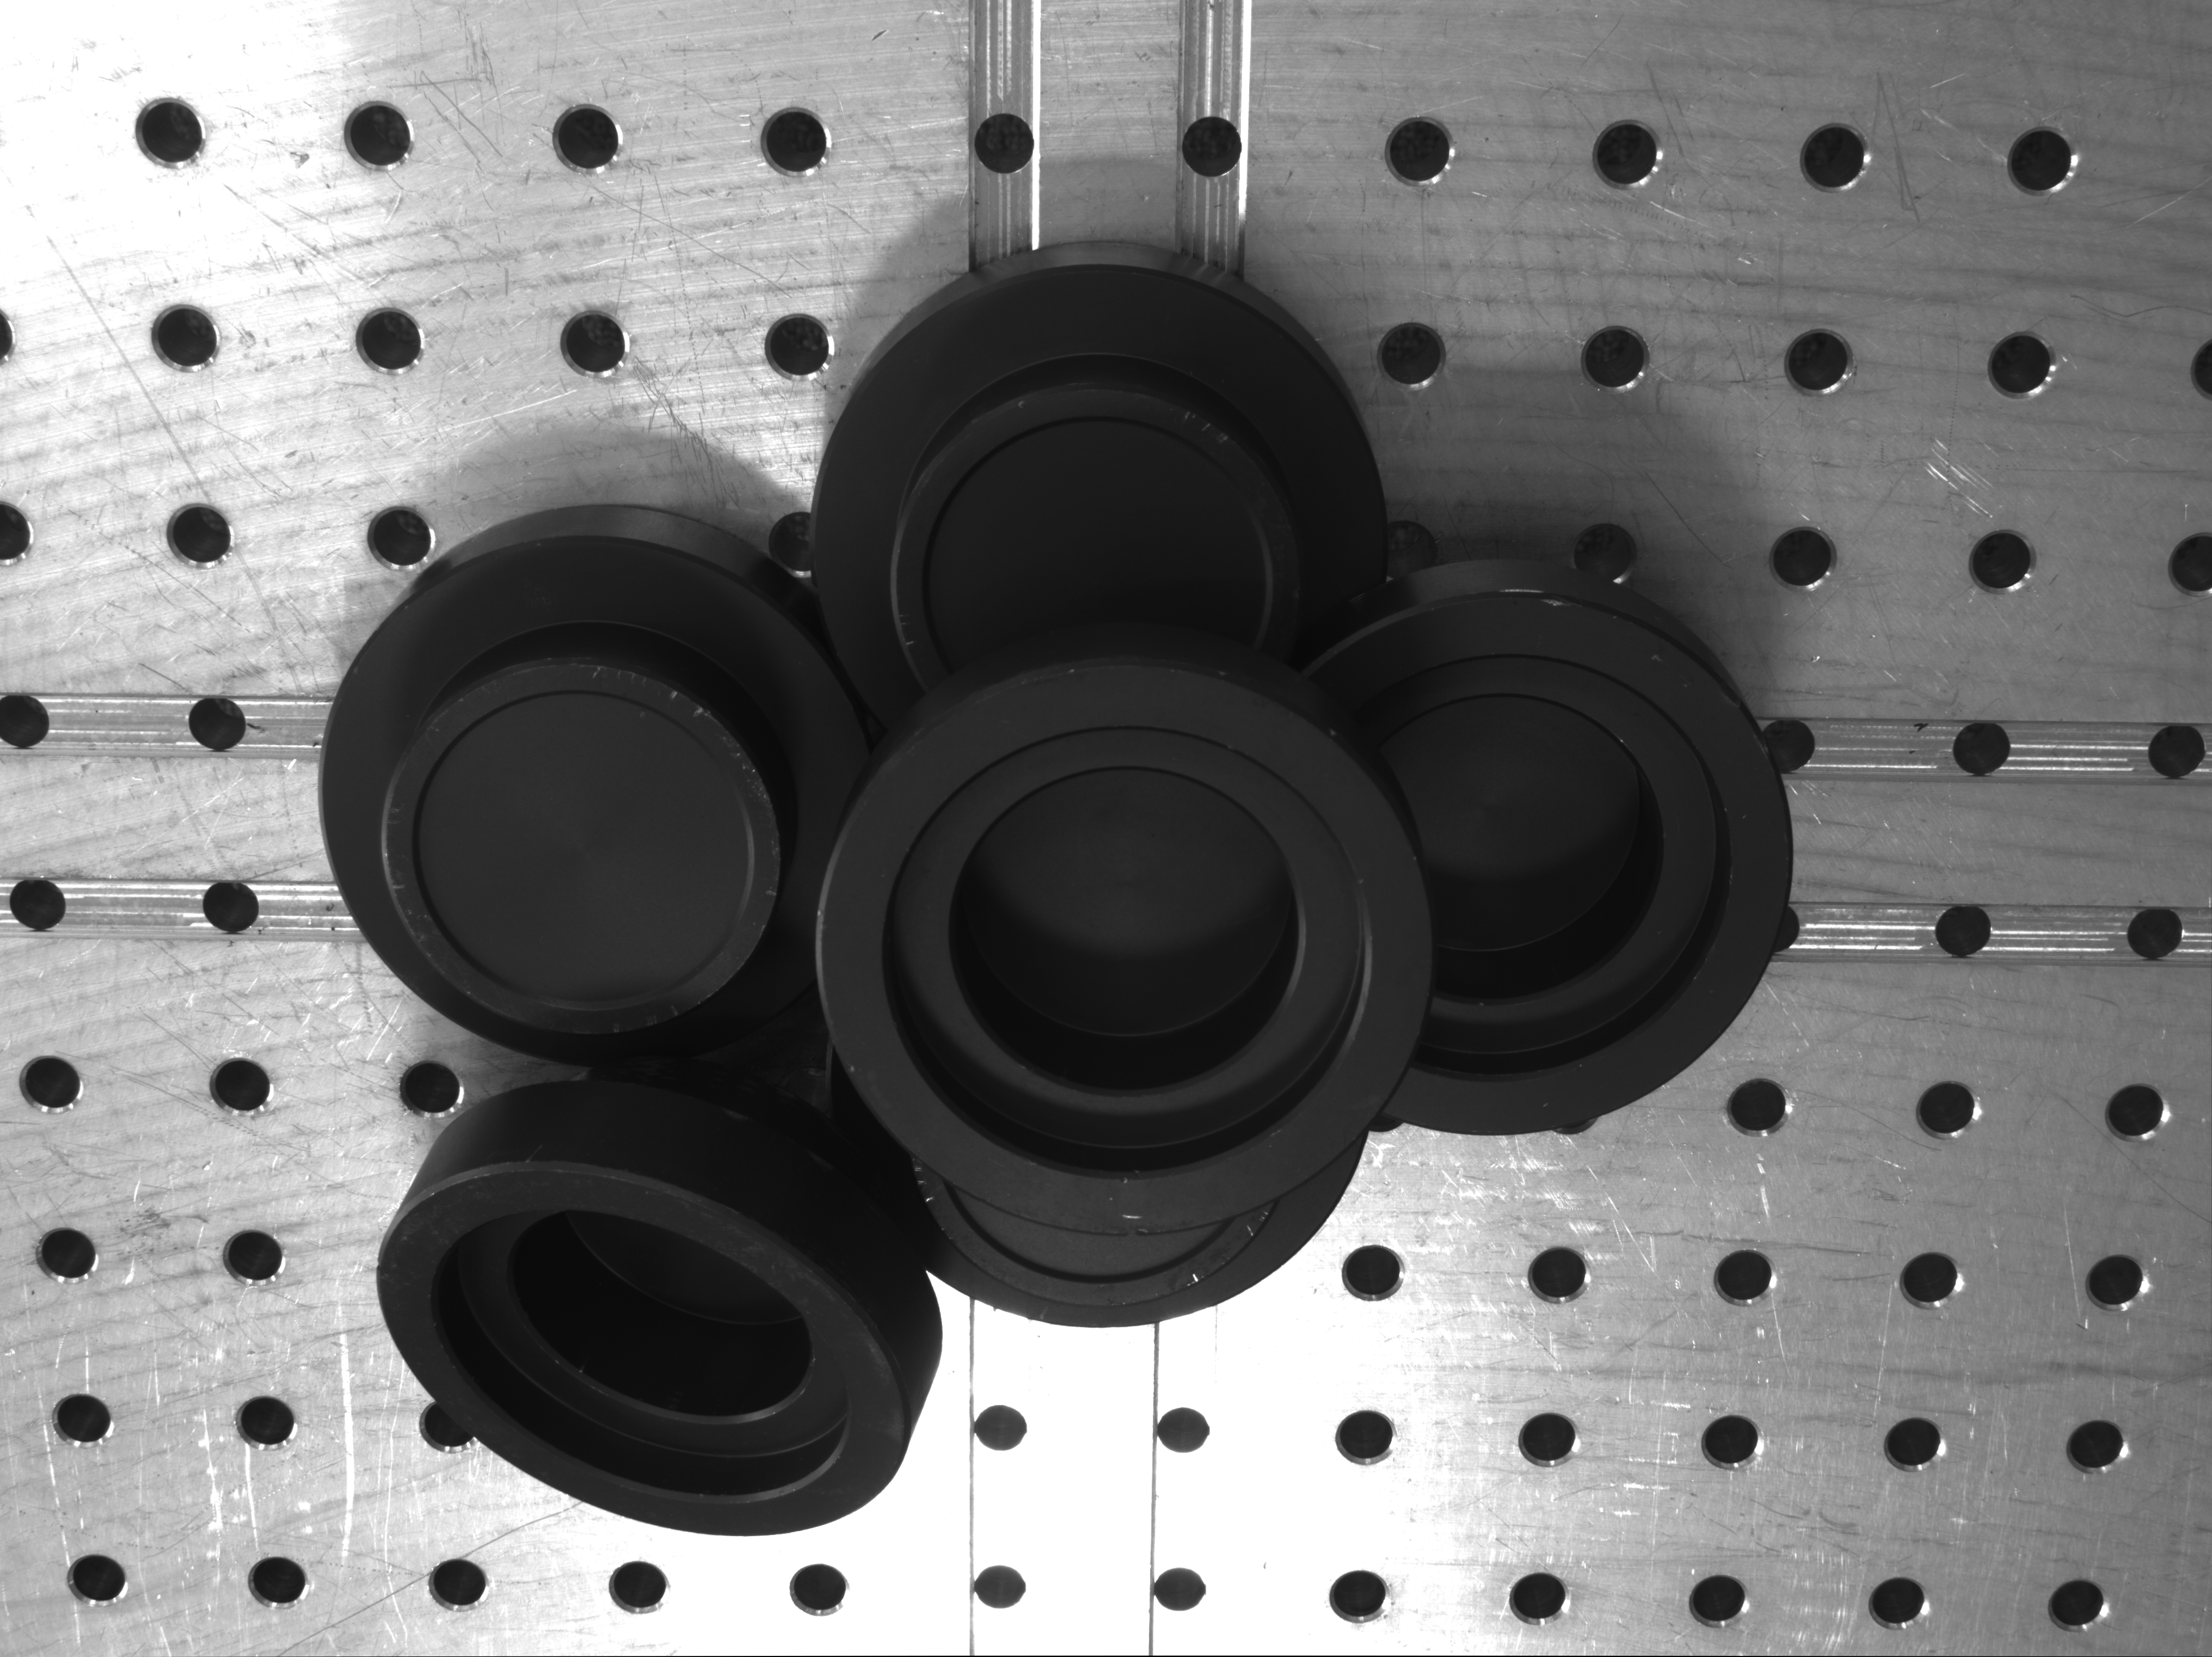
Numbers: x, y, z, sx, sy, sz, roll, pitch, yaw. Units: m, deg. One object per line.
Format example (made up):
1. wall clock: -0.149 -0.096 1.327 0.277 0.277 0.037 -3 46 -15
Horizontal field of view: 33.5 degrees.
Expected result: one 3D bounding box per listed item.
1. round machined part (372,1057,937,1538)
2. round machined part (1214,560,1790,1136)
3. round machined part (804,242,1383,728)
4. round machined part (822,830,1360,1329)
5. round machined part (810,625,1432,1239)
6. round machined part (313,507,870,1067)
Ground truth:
1. round machined part: -0.077 0.079 0.652 0.098 0.042 0.098 9 134 10
2. round machined part: 0.066 0.000 0.637 0.098 0.042 0.098 0 110 0
3. round machined part: -0.002 -0.047 0.621 0.098 0.042 0.098 0 110 0
4. round machined part: -0.002 0.046 0.654 0.098 0.042 0.098 0 110 0
5. round machined part: 0.002 0.014 0.597 0.098 0.042 0.098 0 110 0
6. round machined part: -0.088 -0.003 0.636 0.098 0.042 0.098 0 110 0
